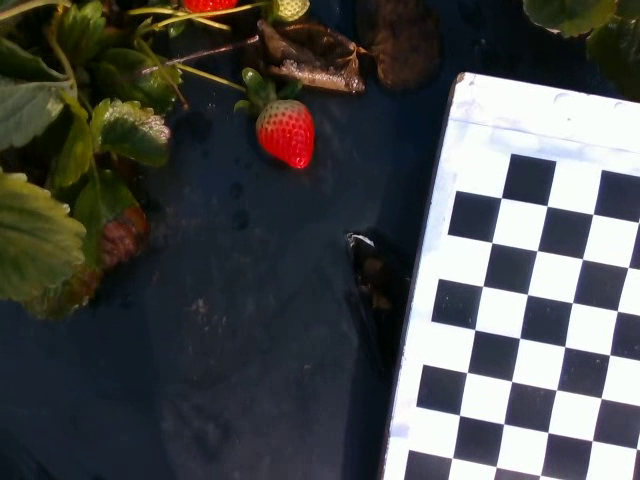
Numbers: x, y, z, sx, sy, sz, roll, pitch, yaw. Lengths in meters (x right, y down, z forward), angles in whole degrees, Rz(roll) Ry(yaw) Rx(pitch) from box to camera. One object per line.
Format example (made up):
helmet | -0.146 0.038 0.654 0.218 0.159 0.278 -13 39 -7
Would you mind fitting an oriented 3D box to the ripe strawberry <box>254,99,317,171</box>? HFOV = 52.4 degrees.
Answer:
ripe strawberry | -0.017 -0.056 0.343 0.035 0.043 0.029 -26 -3 2
